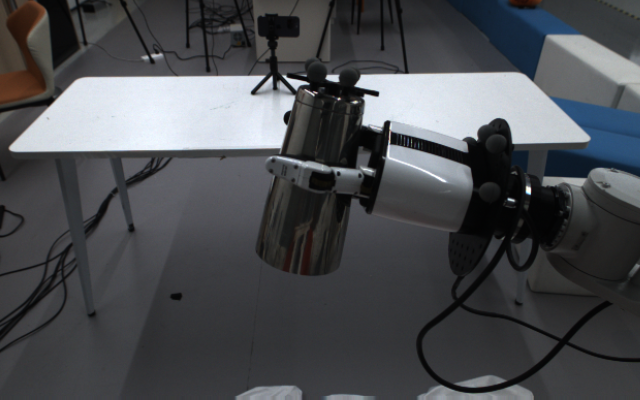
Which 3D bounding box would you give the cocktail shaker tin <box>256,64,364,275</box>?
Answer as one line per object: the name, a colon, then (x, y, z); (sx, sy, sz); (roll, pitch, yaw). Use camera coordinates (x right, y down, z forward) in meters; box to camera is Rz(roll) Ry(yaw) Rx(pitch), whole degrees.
cocktail shaker tin: (-0.004, -0.022, 0.485); (0.093, 0.170, 0.093); (11, 19, -4)
